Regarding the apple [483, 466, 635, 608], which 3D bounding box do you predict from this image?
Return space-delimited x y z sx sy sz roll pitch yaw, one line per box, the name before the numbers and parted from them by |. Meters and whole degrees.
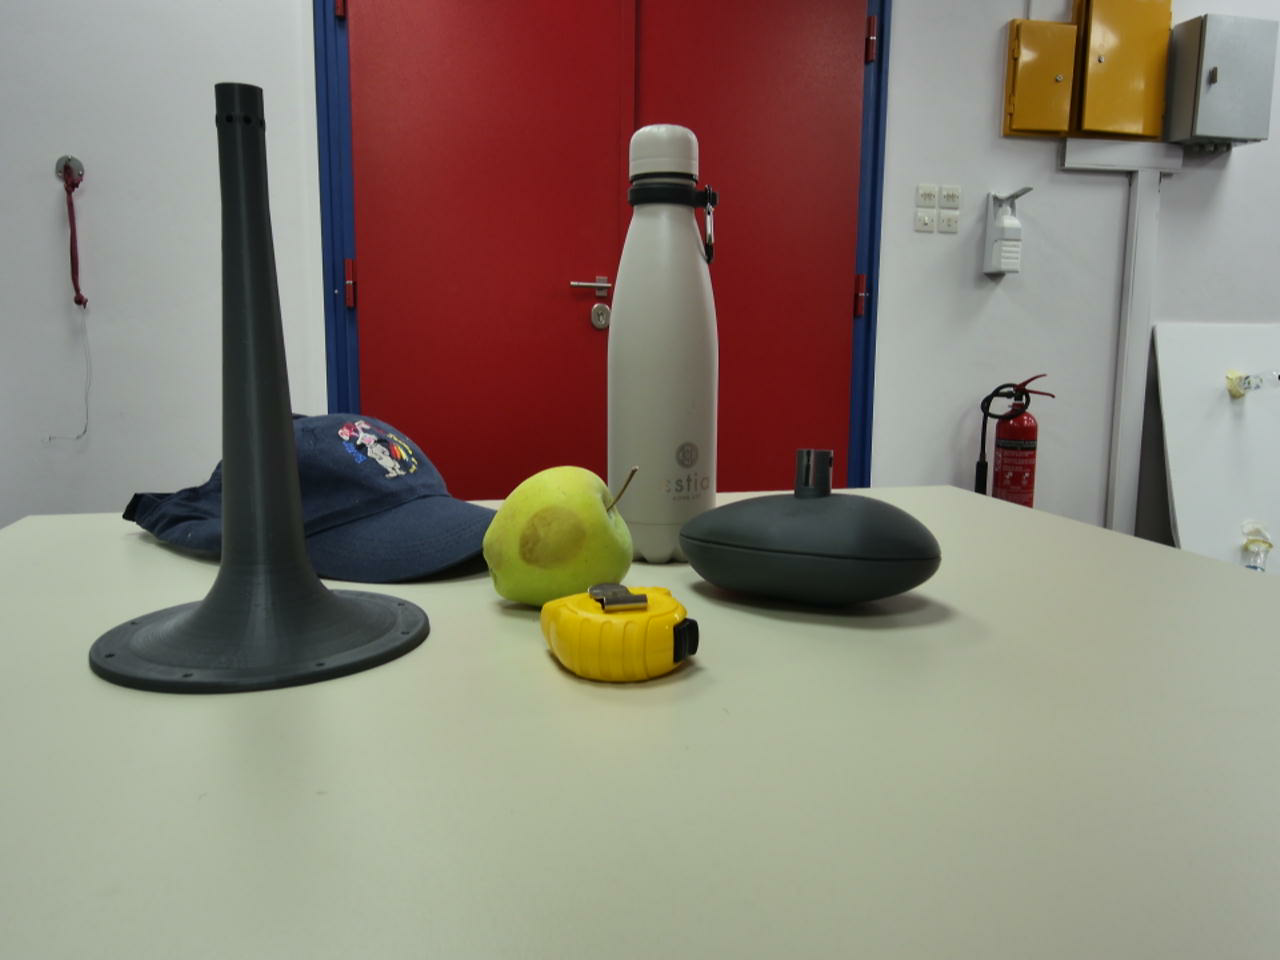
apple | -0.042 0.030 0.537 0.077 0.075 0.072 5 8 31
